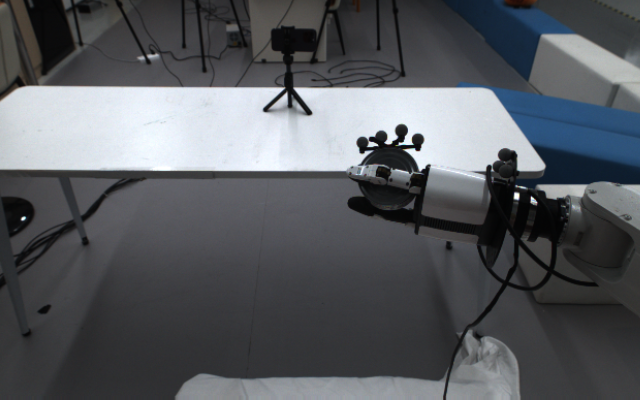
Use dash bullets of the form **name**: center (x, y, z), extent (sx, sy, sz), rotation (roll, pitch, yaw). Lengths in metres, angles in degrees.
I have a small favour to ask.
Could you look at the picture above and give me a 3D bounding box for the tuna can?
- **tuna can**: center (0.097, -0.030, 0.683), extent (0.085, 0.034, 0.085), rotation (-5, 71, 15)
